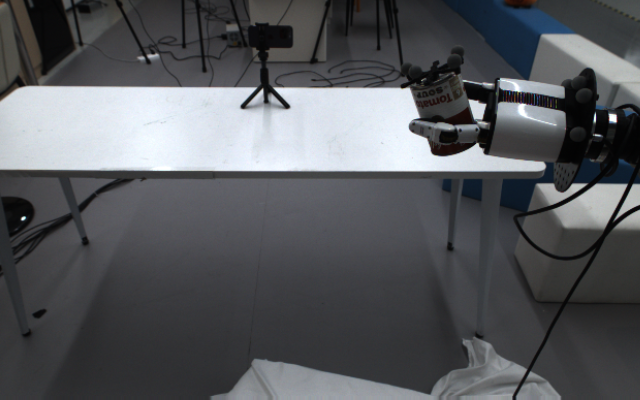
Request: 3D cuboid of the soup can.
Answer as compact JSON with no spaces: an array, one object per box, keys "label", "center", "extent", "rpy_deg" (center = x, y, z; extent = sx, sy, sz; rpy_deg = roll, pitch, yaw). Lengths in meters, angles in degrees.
[{"label":"soup can","center":[0.169,-0.121,0.654],"extent":[0.067,0.101,0.067],"rpy_deg":[-21,24,10]}]
